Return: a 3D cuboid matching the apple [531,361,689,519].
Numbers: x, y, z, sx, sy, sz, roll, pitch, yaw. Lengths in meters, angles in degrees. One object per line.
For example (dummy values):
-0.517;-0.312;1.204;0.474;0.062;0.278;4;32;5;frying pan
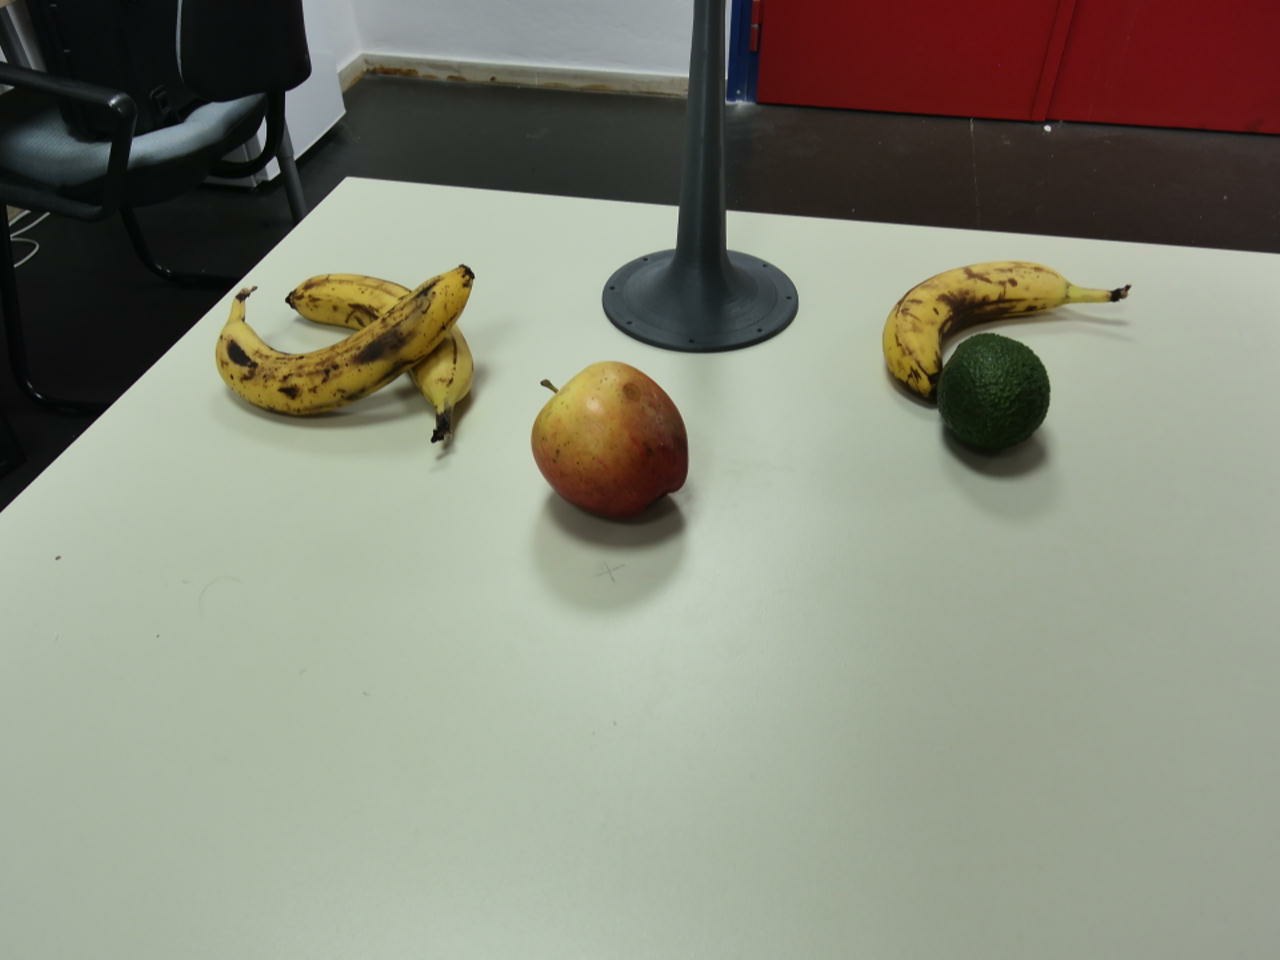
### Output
-0.018;-0.023;0.575;0.086;0.084;0.093;-17;41;-18;apple
